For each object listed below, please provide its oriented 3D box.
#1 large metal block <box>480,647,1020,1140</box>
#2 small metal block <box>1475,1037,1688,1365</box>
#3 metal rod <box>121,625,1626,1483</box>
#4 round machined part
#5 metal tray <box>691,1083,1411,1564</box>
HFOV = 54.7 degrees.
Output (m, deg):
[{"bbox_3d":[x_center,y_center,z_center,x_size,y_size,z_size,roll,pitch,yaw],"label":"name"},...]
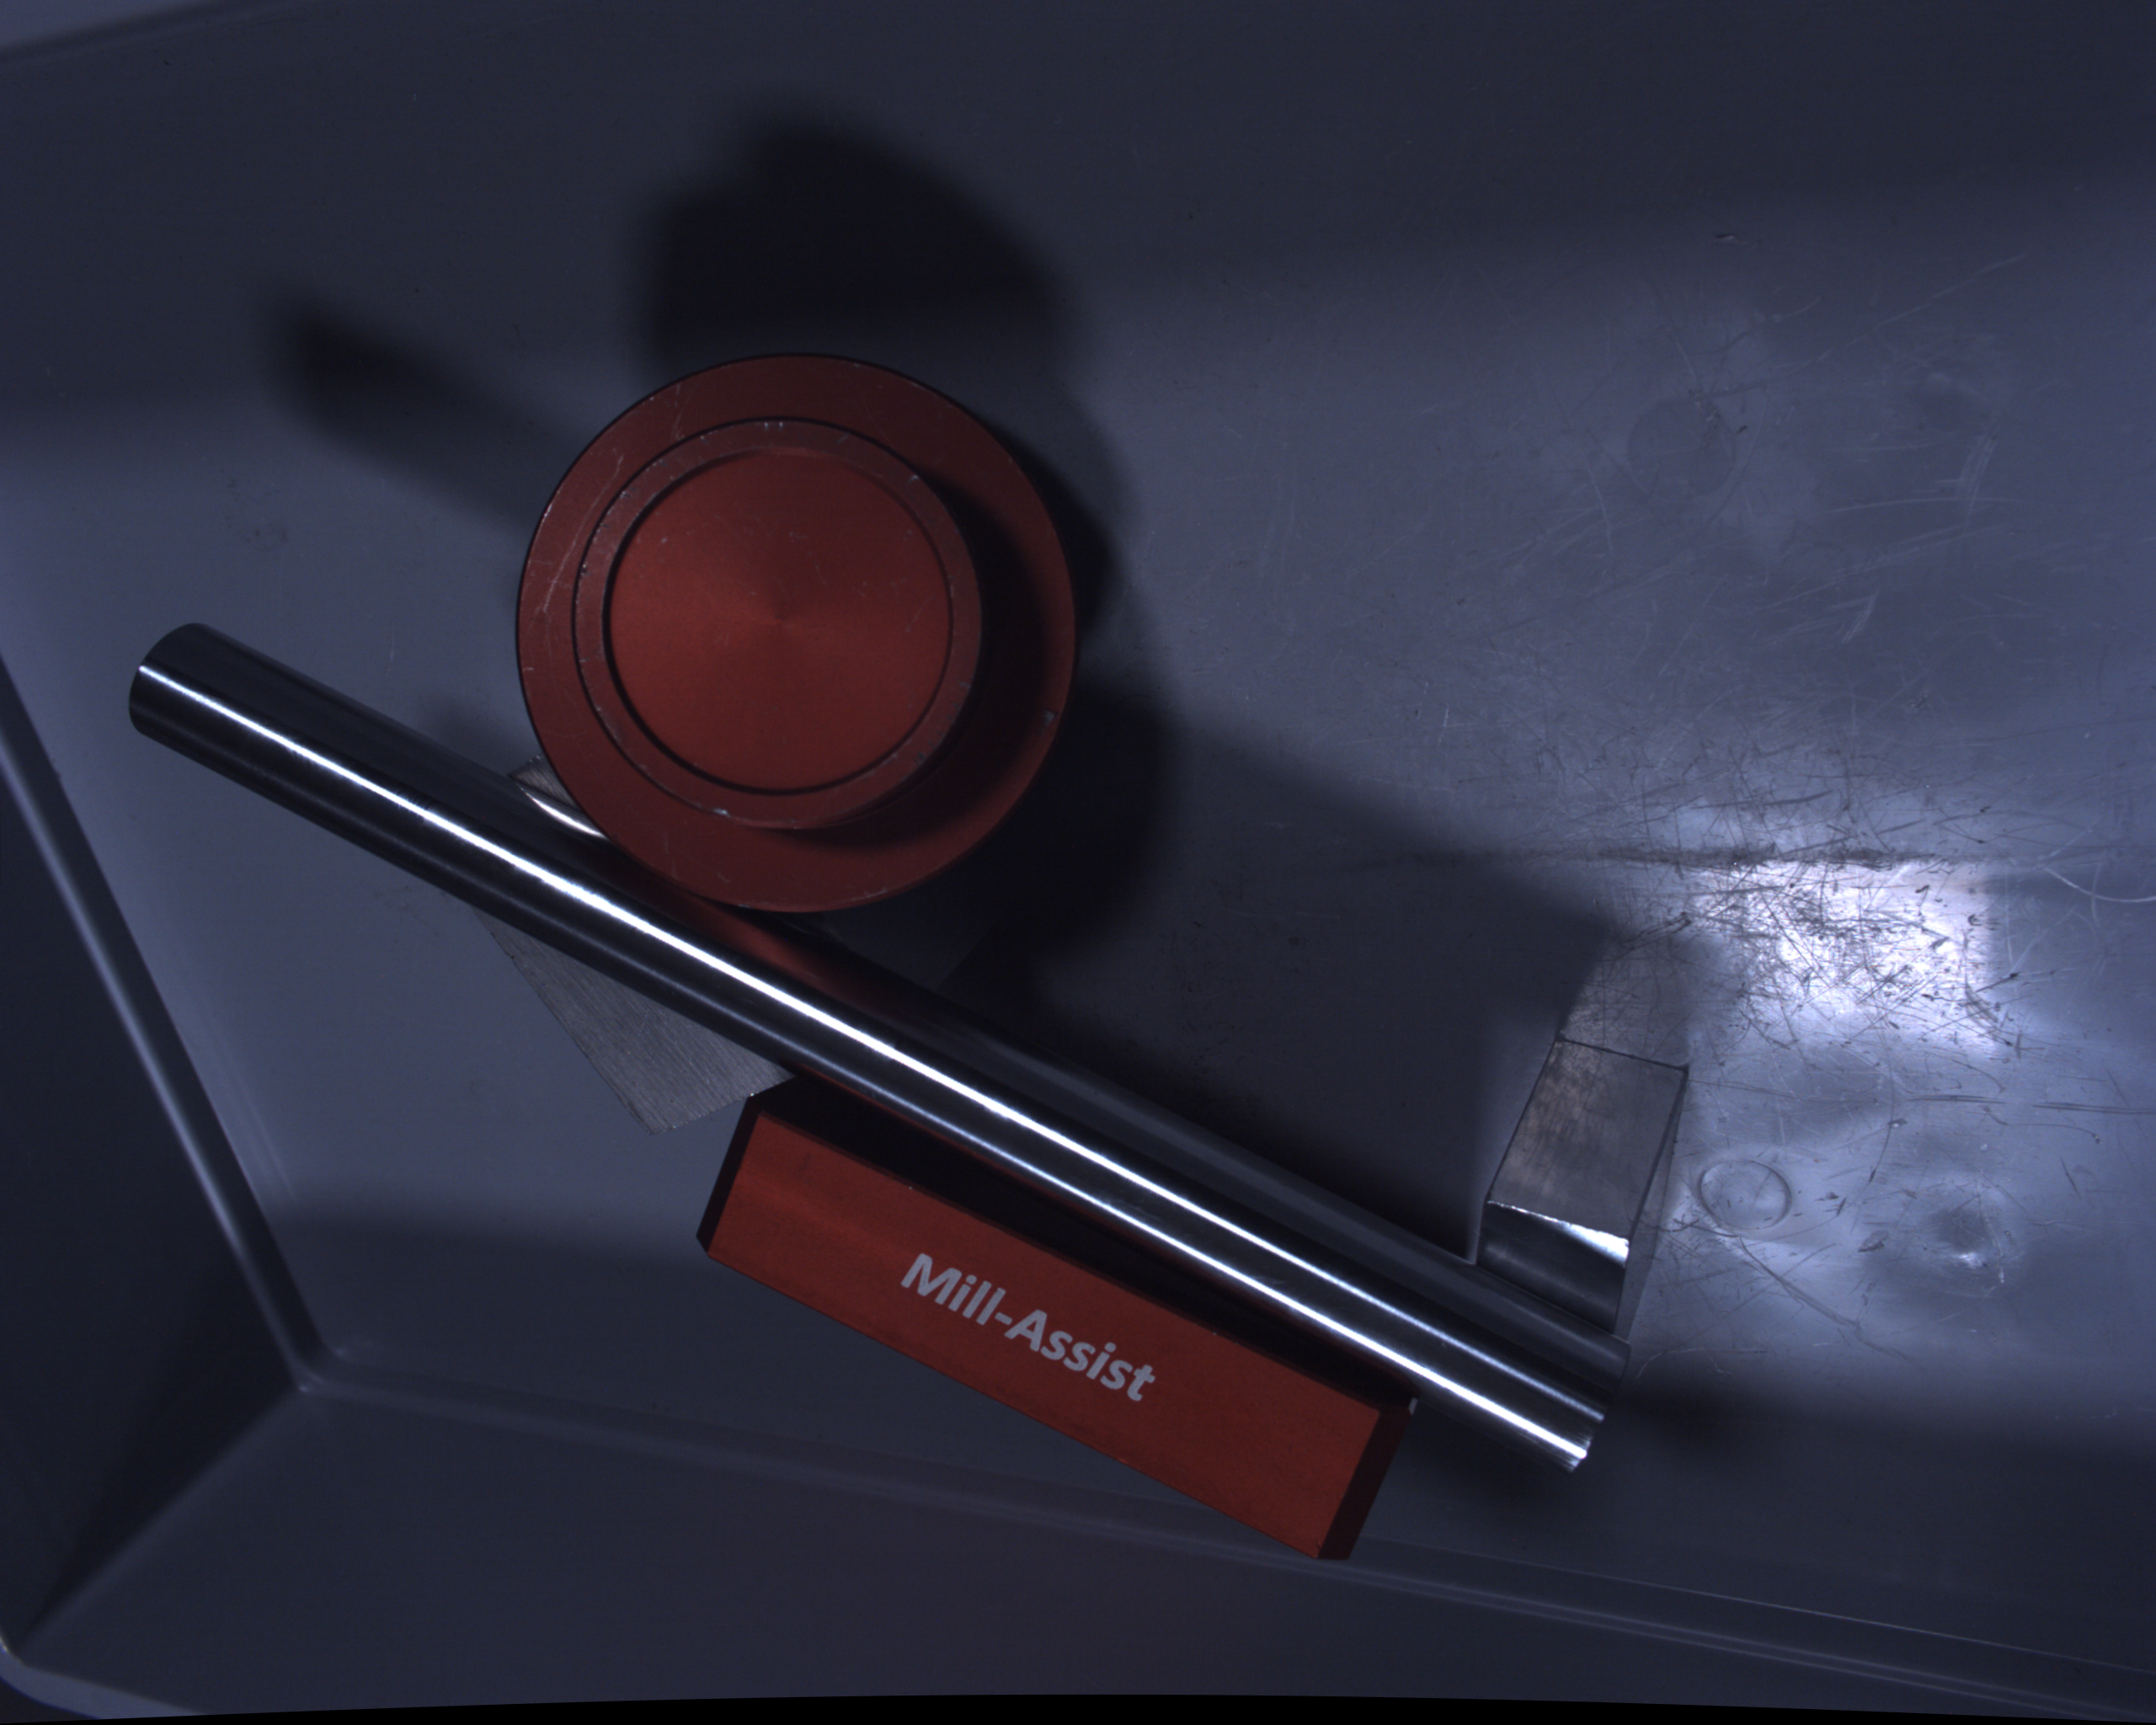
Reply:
[{"bbox_3d":[-0.074,0.001,0.428,0.080,0.050,0.080,-25,105,36],"label":"large metal block"},{"bbox_3d":[0.091,0.069,0.384,0.025,0.050,0.050,14,124,20],"label":"small metal block"},{"bbox_3d":[-0.046,0.029,0.381,0.301,0.025,0.025,26,127,11],"label":"metal rod"},{"bbox_3d":[-0.049,-0.040,0.362,0.099,0.042,0.097,0,91,-1],"label":"round machined part"},{"bbox_3d":[0.003,0.079,0.406,0.130,0.090,0.030,24,100,13],"label":"metal tray"}]
